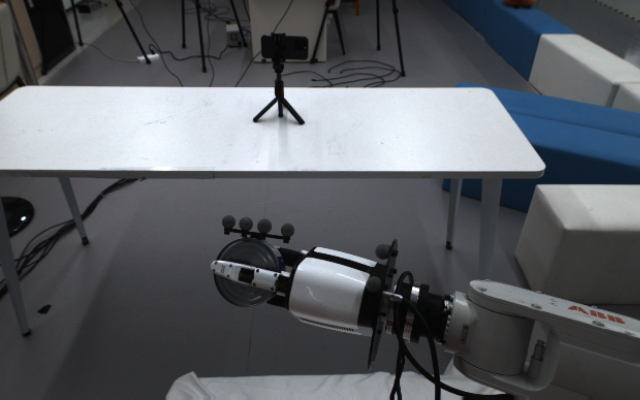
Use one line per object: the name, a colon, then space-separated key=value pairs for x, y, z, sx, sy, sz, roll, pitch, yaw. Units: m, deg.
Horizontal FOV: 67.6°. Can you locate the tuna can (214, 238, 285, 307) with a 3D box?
tuna can: x=-0.086 y=0.090 z=0.611 sx=0.085 sy=0.085 sz=0.034 roll=11 pitch=-5 yaw=12
